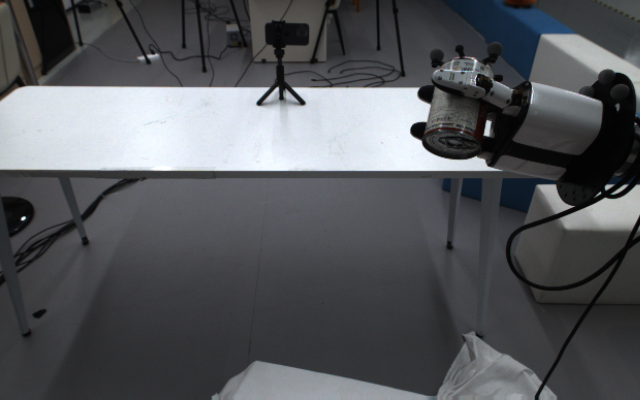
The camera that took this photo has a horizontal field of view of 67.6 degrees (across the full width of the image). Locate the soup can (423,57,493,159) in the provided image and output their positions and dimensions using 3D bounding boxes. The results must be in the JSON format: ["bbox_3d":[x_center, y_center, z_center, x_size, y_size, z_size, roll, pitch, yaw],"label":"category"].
[{"bbox_3d":[0.166,-0.109,0.576,0.067,0.067,0.101,11,72,13],"label":"soup can"}]
